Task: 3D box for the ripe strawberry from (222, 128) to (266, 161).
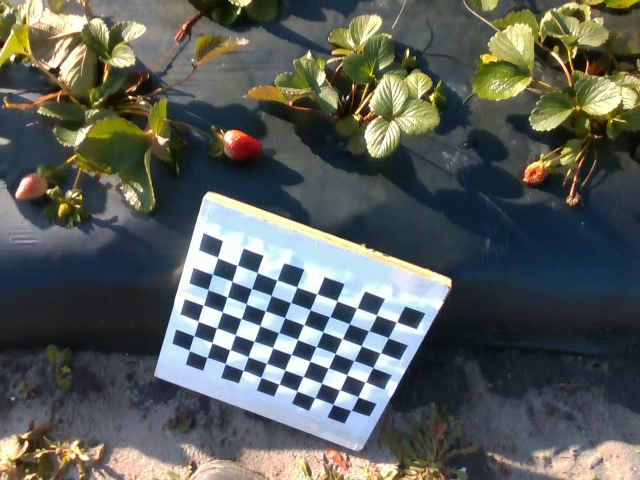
[{"bbox_3d":[-0.098,-0.126,0.706,0.063,0.045,0.044,4,26,5],"label":"ripe strawberry"}]
